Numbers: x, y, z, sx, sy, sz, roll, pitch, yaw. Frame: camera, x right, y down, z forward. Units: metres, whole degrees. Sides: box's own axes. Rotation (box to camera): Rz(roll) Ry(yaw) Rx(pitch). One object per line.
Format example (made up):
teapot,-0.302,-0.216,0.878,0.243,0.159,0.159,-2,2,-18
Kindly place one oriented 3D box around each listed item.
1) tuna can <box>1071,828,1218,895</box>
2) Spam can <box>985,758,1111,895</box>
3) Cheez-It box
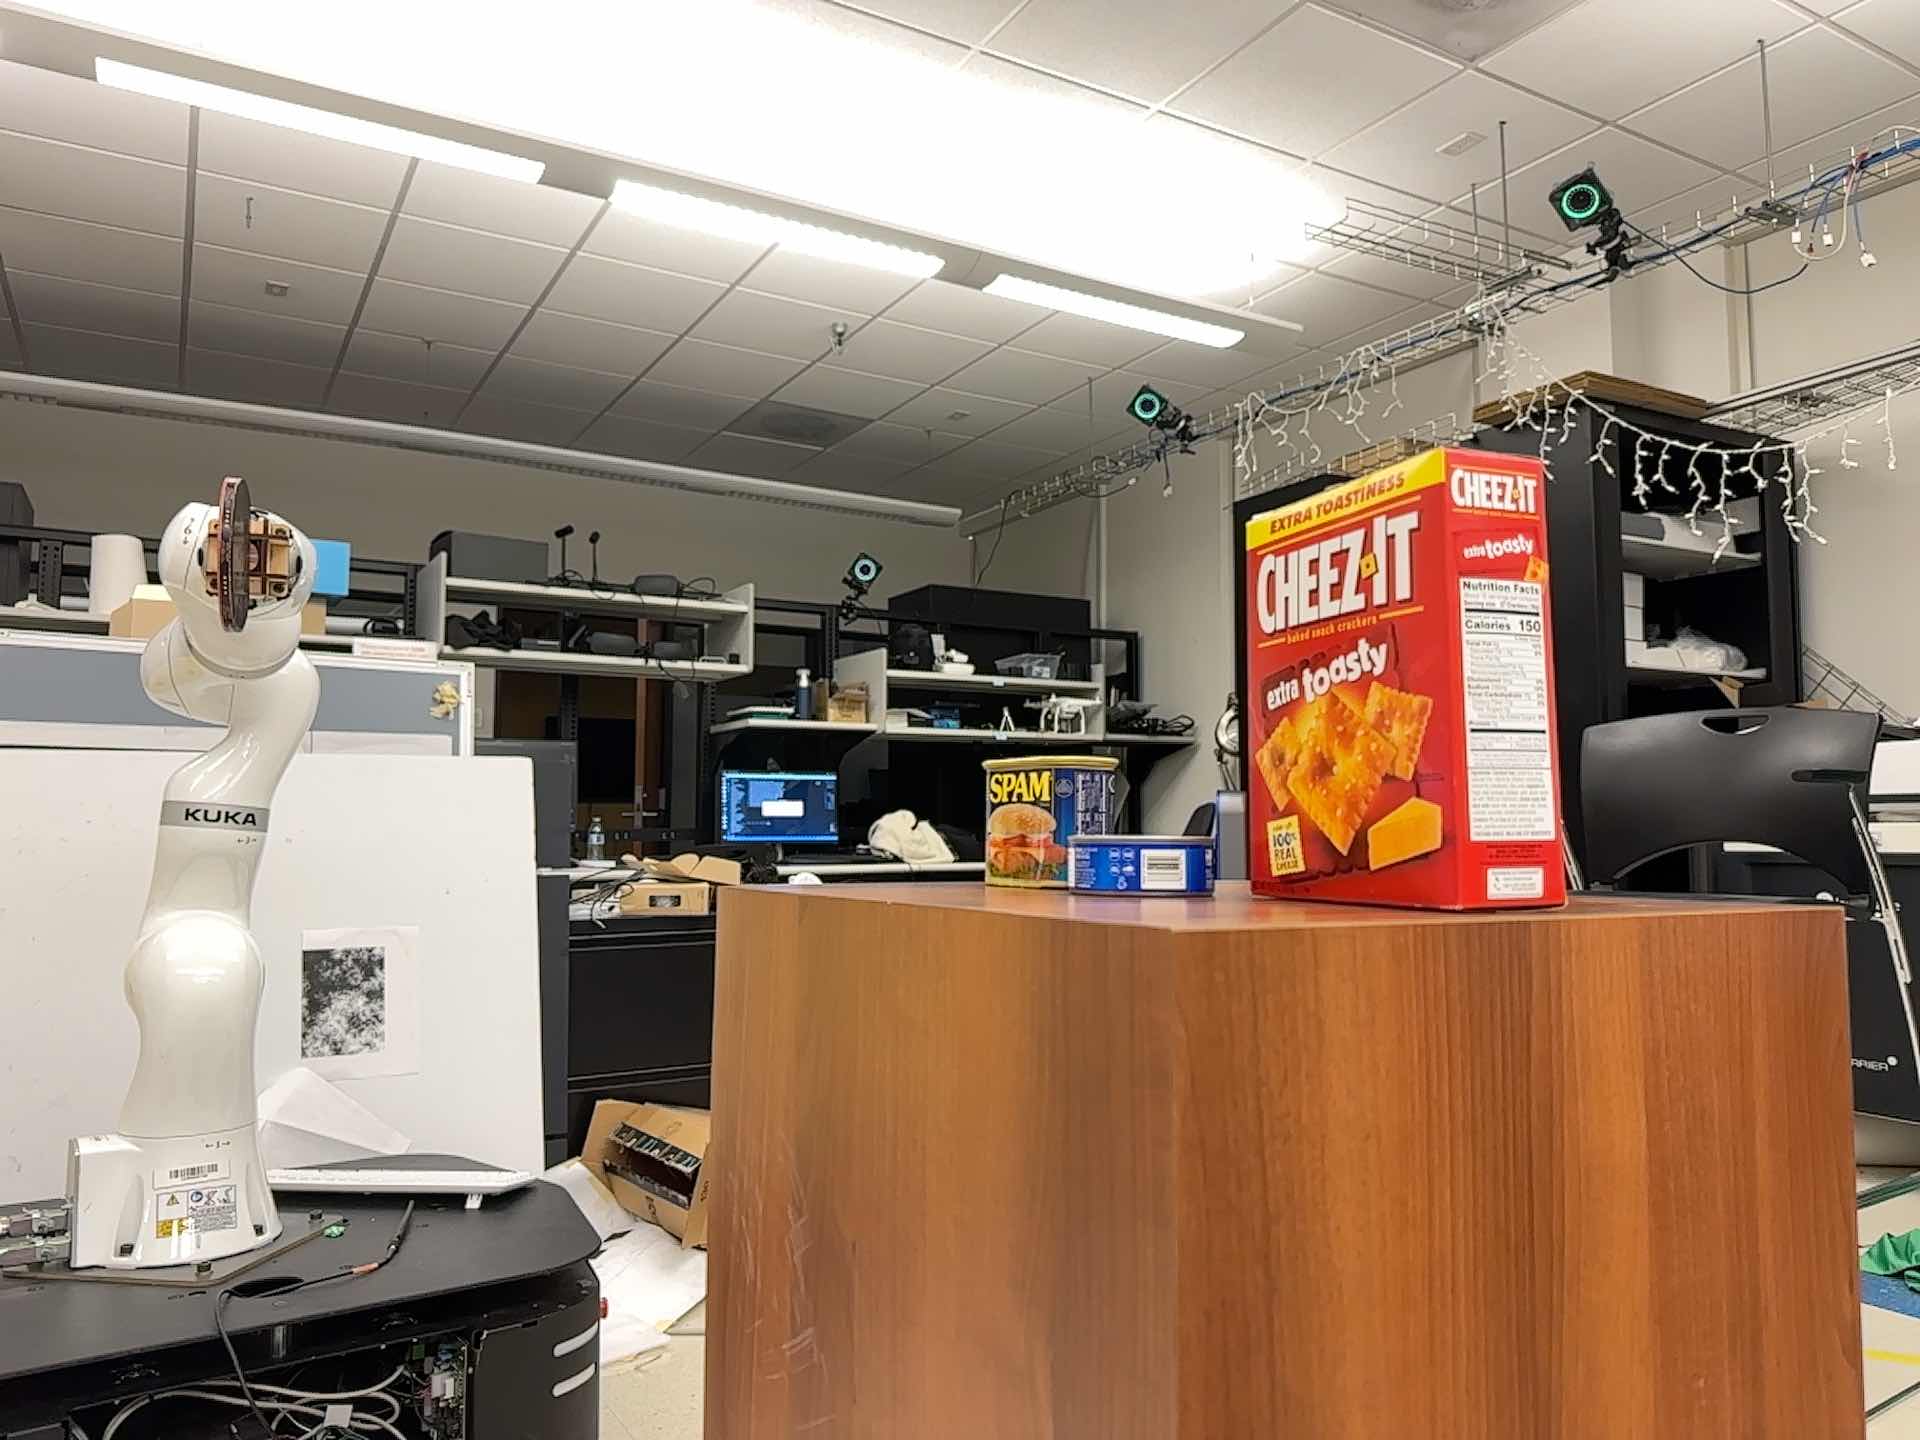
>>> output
tuna can,0.107,0.083,0.788,0.083,0.034,0.083,1,-9,0
Spam can,0.056,0.072,0.891,0.056,0.083,0.100,3,-8,-21
Cheez-It box,0.225,-0.016,0.714,0.062,0.214,0.159,3,-8,-24
